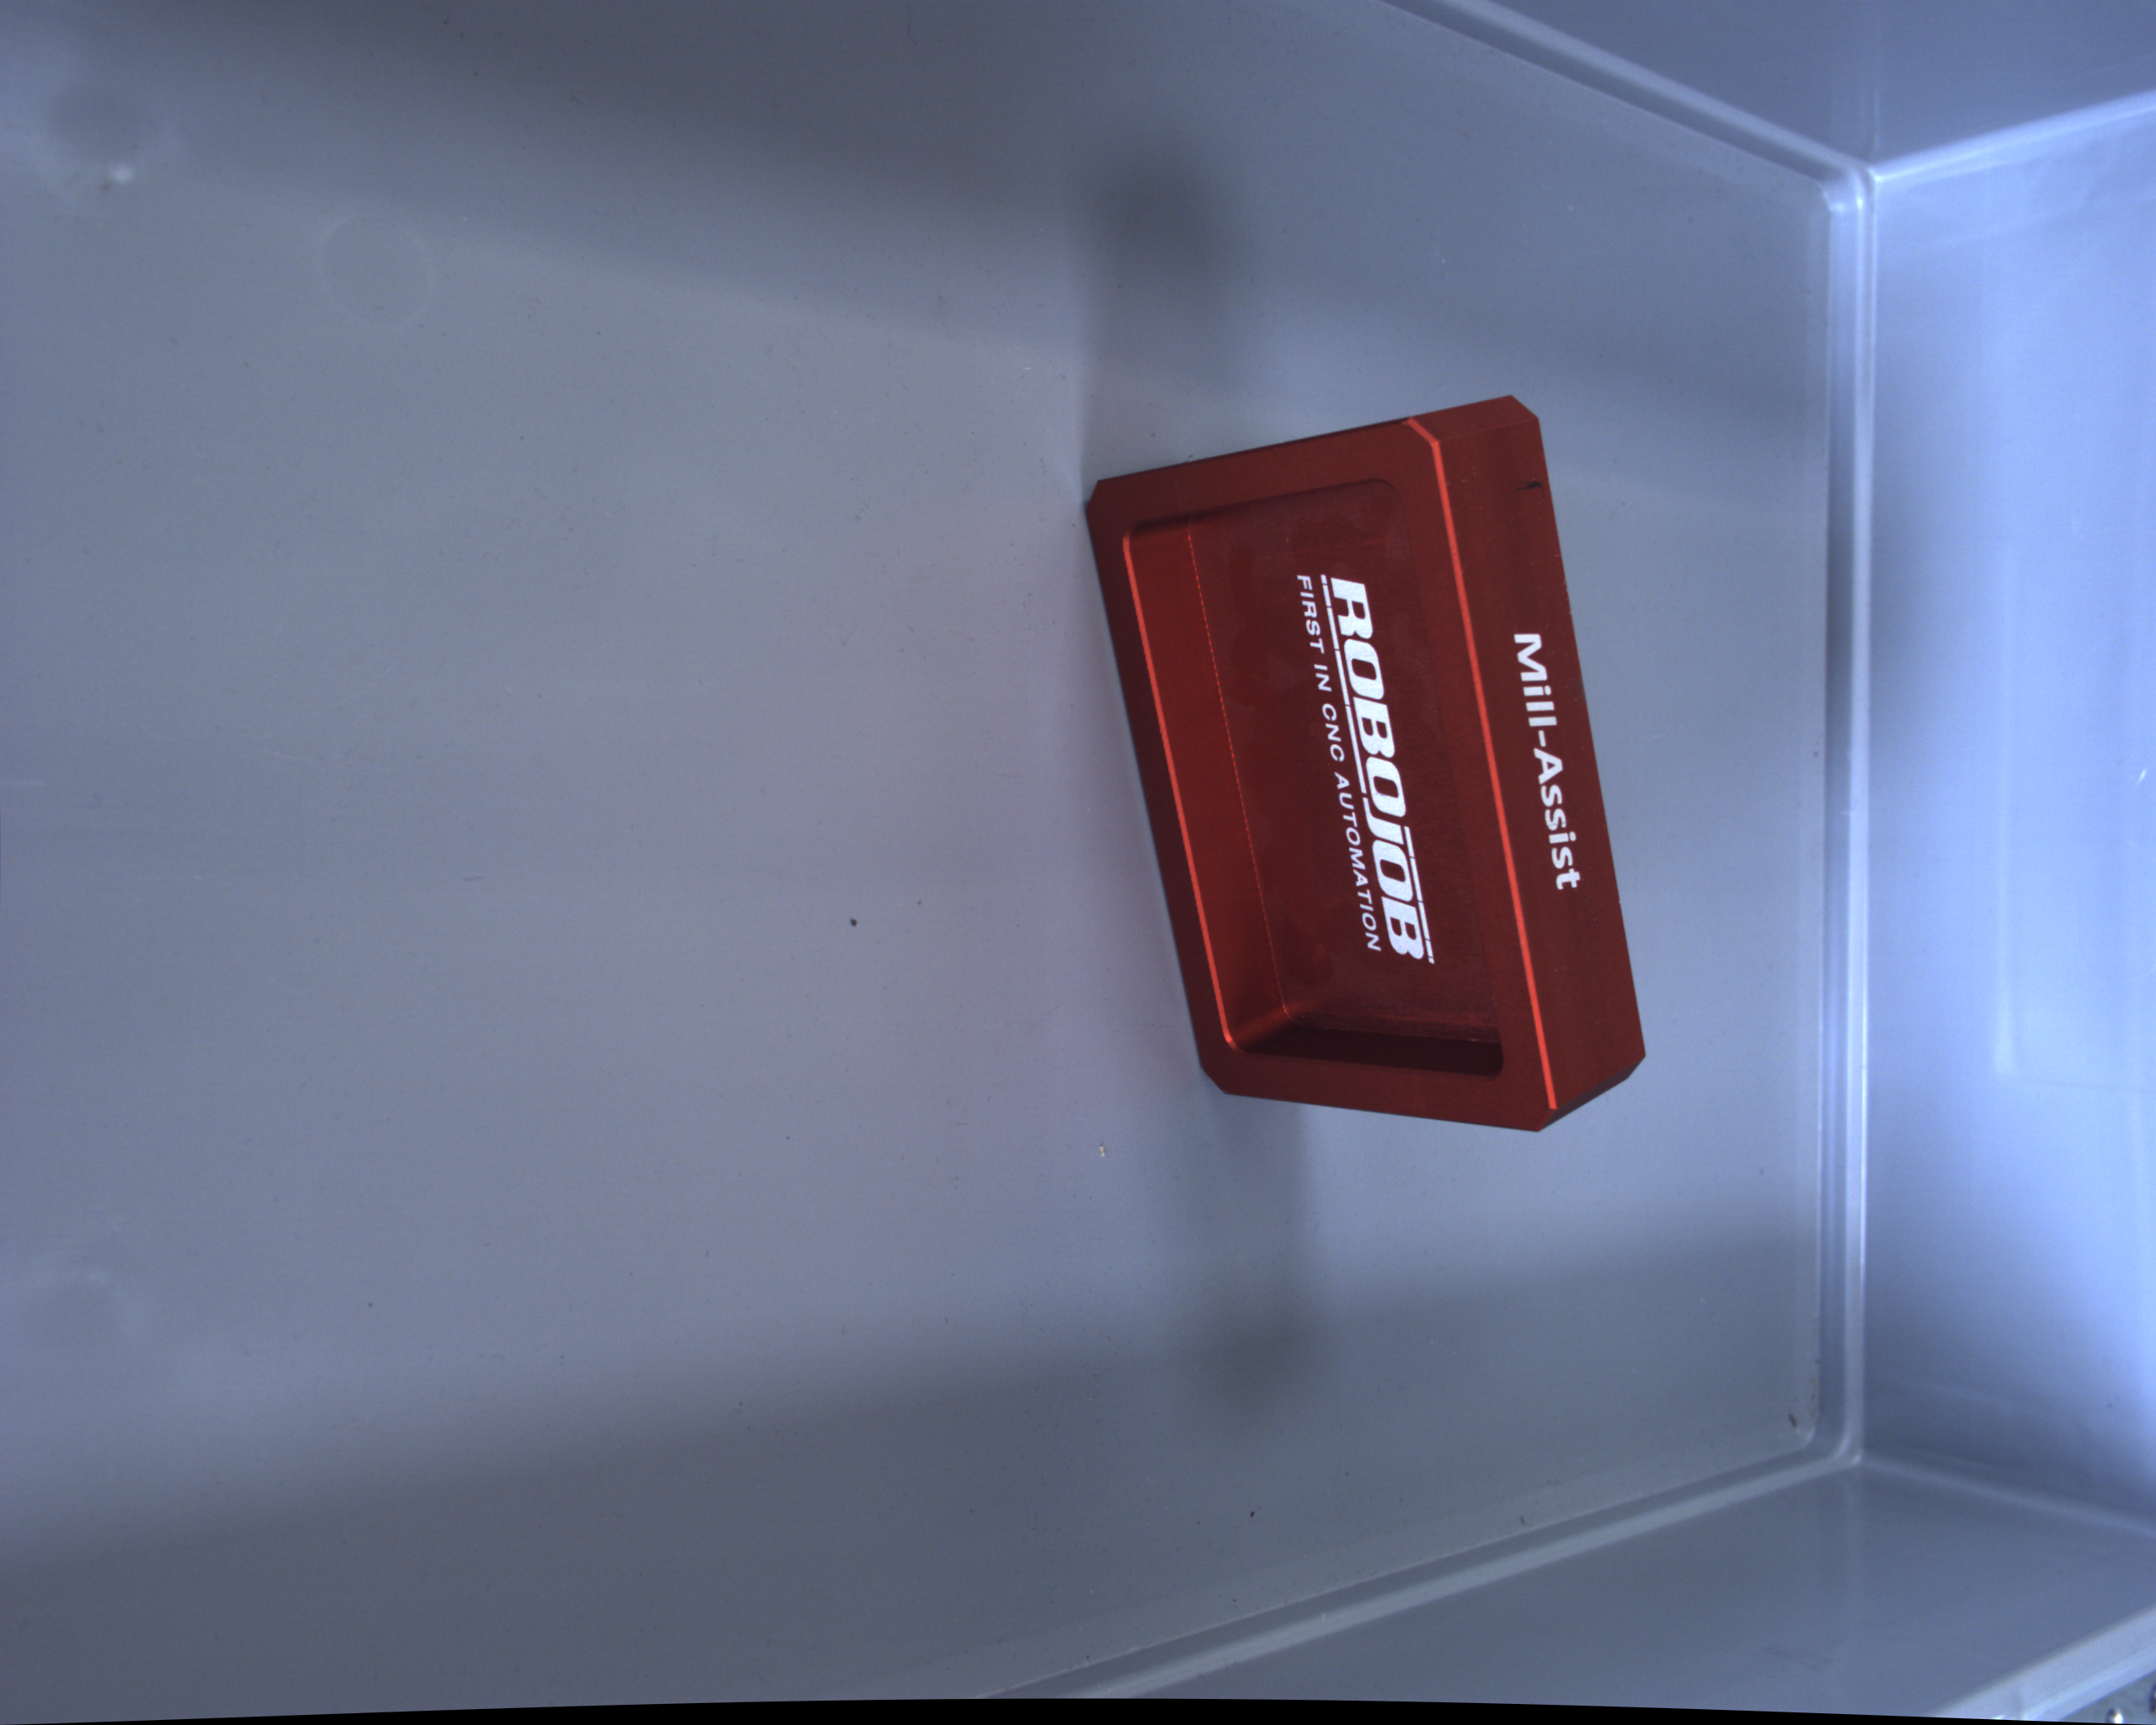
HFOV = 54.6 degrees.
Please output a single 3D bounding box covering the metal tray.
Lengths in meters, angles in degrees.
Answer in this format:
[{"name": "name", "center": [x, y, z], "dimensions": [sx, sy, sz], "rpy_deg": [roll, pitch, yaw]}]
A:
[{"name": "metal tray", "center": [0.054, -0.017, 0.405], "dimensions": [0.030, 0.090, 0.129], "rpy_deg": [-21, 104, -39]}]
